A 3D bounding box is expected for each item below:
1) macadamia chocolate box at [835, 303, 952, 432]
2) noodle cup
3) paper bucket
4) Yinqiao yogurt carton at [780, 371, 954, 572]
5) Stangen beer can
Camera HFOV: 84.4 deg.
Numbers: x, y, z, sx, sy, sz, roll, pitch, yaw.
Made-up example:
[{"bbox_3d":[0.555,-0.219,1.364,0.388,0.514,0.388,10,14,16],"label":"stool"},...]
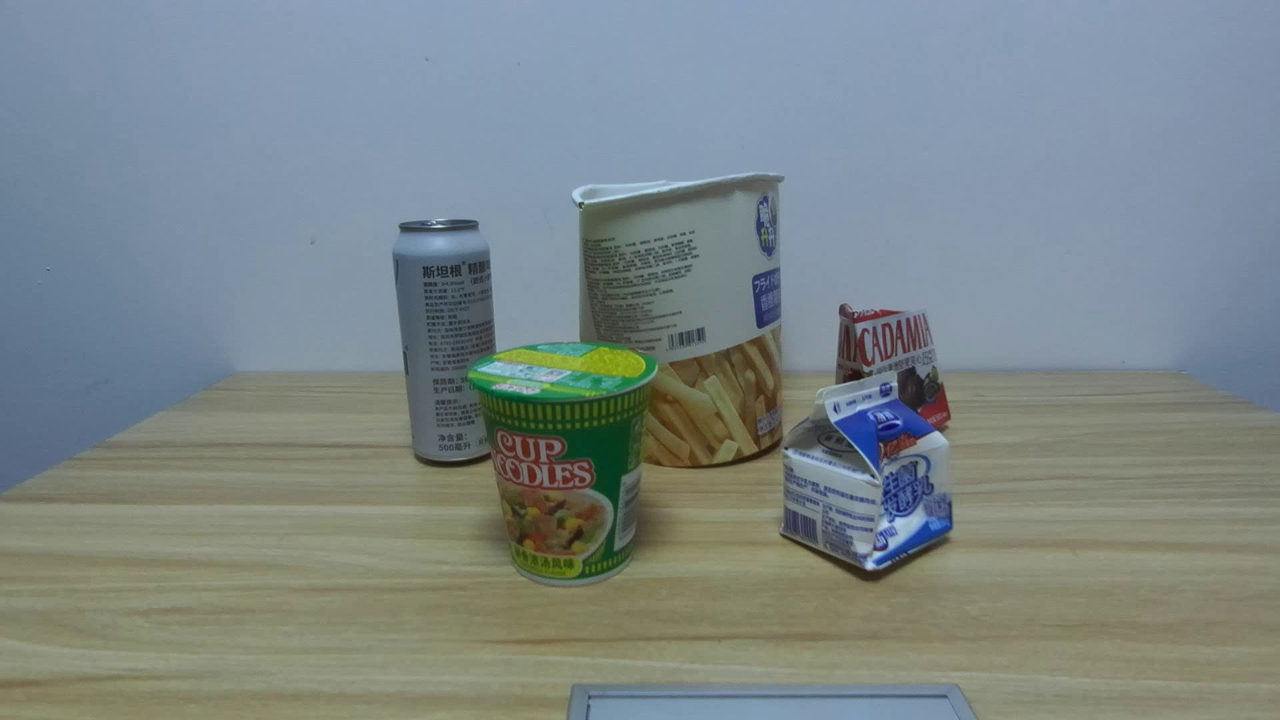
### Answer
[{"bbox_3d":[0.189,0.009,0.533,0.127,0.112,0.056,-15,20,-41],"label":"macadamia chocolate box"},{"bbox_3d":[-0.037,0.056,0.382,0.097,0.110,0.097,-1,15,1],"label":"noodle cup"},{"bbox_3d":[0.038,-0.037,0.538,0.147,0.199,0.218,0,15,4],"label":"paper bucket"},{"bbox_3d":[0.124,0.057,0.399,0.078,0.094,0.070,-12,13,-35],"label":"Yinqiao yogurt carton"},{"bbox_3d":[-0.139,-0.013,0.515,0.067,0.171,0.067,0,16,0],"label":"Stangen beer can"}]
